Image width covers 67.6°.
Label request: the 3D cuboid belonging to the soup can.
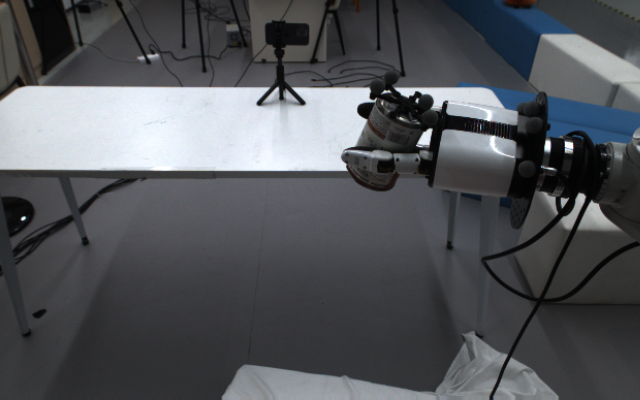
[{"bbox_3d":[0.082,-0.070,0.594,0.067,0.101,0.067,14,39,-12],"label":"soup can"}]
